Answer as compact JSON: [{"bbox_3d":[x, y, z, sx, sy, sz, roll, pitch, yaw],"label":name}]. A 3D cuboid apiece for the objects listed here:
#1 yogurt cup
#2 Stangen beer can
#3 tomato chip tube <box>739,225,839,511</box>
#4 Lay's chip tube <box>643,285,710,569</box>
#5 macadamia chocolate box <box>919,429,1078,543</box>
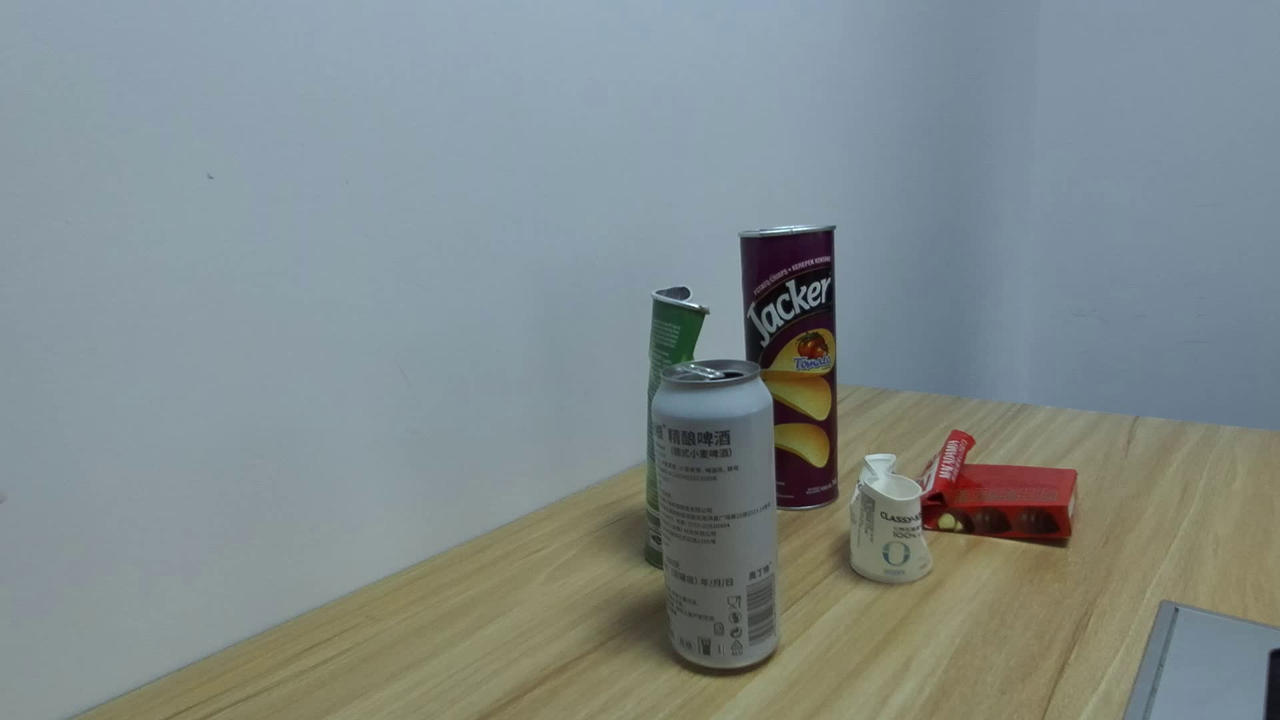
[{"bbox_3d":[0.172,0.109,0.485,0.054,0.071,0.075,-8,13,-17],"label":"yogurt cup"},{"bbox_3d":[0.044,0.088,0.404,0.067,0.171,0.067,-4,11,1],"label":"Stangen beer can"},{"bbox_3d":[0.131,0.006,0.604,0.080,0.234,0.077,-3,11,9],"label":"tomato chip tube"},{"bbox_3d":[0.032,0.049,0.515,0.069,0.201,0.077,-11,17,-30],"label":"Lay's chip tube"},{"bbox_3d":[0.276,0.108,0.565,0.126,0.056,0.112,8,32,36],"label":"macadamia chocolate box"}]
